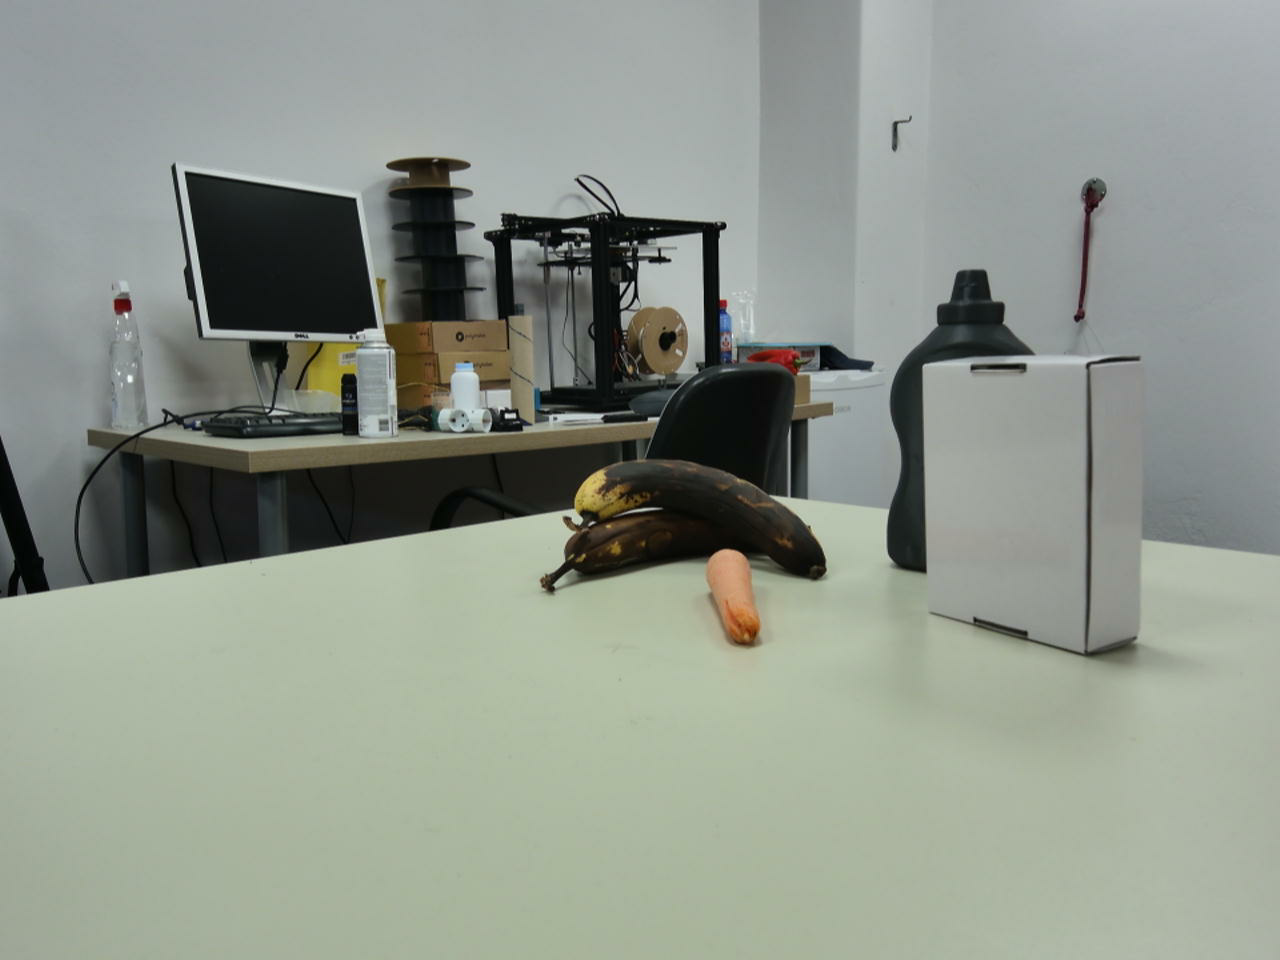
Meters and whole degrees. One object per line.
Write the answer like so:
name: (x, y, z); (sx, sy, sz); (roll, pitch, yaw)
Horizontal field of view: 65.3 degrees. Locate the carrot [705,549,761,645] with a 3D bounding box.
carrot: (0.054, 0.064, 0.582); (0.030, 0.032, 0.136); (1, 6, 2)
